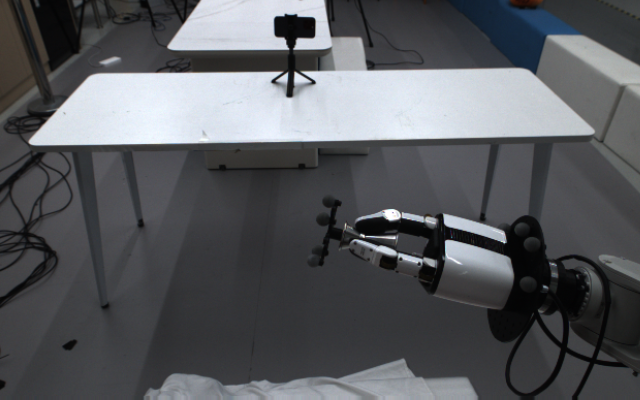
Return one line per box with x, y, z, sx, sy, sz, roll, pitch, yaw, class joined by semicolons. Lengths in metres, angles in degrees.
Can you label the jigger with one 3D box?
0.067;0.051;0.613;0.071;0.043;0.043;14;36;5;jigger
